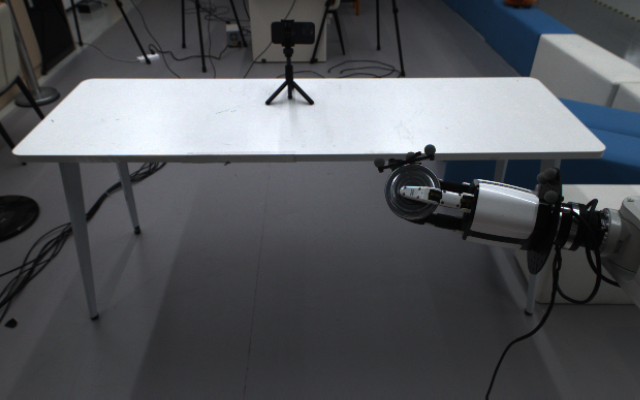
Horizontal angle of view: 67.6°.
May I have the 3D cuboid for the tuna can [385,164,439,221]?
[{"bbox_3d":[0.145,-0.015,0.747,0.085,0.085,0.034,12,-6,14],"label":"tuna can"}]
